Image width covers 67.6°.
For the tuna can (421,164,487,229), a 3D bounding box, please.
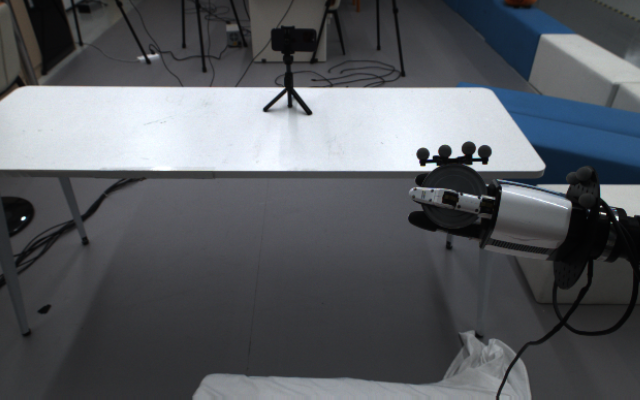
[{"bbox_3d":[0.179,-0.007,0.648,0.085,0.085,0.034,15,2,18],"label":"tuna can"}]
